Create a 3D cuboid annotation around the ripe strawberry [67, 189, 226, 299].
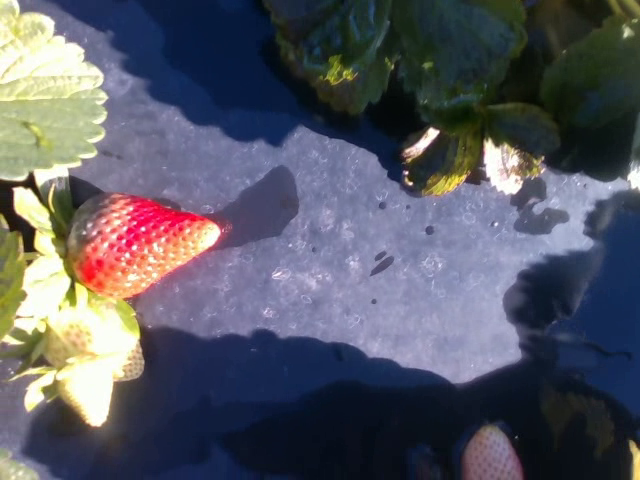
[{"bbox_3d":[-0.067,0.000,0.237,0.064,0.049,0.052,-12,41,5],"label":"ripe strawberry"}]
